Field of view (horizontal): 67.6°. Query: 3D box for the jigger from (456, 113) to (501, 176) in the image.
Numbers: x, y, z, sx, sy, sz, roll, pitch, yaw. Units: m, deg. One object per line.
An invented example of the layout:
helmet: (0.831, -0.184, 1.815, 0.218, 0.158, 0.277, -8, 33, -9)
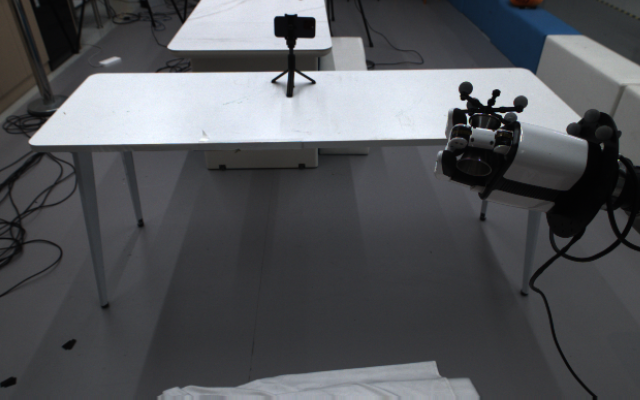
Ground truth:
jigger: (0.203, -0.070, 0.614, 0.043, 0.043, 0.071, 13, 72, 15)
